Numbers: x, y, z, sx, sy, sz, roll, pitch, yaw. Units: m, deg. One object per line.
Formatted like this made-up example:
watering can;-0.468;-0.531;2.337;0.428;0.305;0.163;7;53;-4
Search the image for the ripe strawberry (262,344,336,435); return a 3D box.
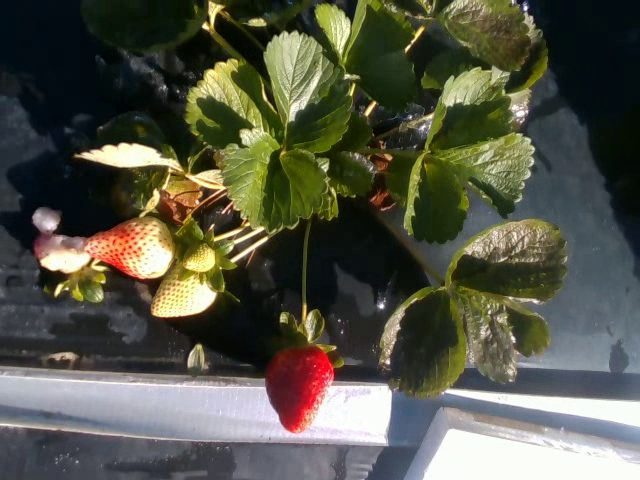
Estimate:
ripe strawberry;-0.011;0.069;0.274;0.036;0.038;0.046;14;40;-7
